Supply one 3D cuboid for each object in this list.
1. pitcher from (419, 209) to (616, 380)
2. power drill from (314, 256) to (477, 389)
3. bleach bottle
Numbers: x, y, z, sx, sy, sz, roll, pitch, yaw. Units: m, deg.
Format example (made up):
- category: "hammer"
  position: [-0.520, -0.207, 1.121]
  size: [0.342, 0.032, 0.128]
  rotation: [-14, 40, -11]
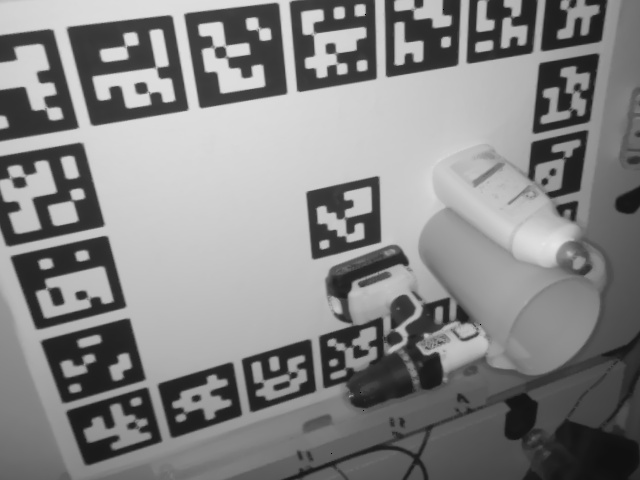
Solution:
- category: "pitcher"
  position: [0.228, 0.043, 0.847]
  size: [0.189, 0.242, 0.133]
  rotation: [-37, 120, -2]
- category: "power drill"
  position: [0.068, 0.094, 0.817]
  size: [0.186, 0.187, 0.057]
  rotation: [-16, 116, -8]
- category: "bleach bottle"
  position: [0.235, -0.040, 0.787]
  size: [0.103, 0.250, 0.067]
  rotation: [-20, 120, -12]
